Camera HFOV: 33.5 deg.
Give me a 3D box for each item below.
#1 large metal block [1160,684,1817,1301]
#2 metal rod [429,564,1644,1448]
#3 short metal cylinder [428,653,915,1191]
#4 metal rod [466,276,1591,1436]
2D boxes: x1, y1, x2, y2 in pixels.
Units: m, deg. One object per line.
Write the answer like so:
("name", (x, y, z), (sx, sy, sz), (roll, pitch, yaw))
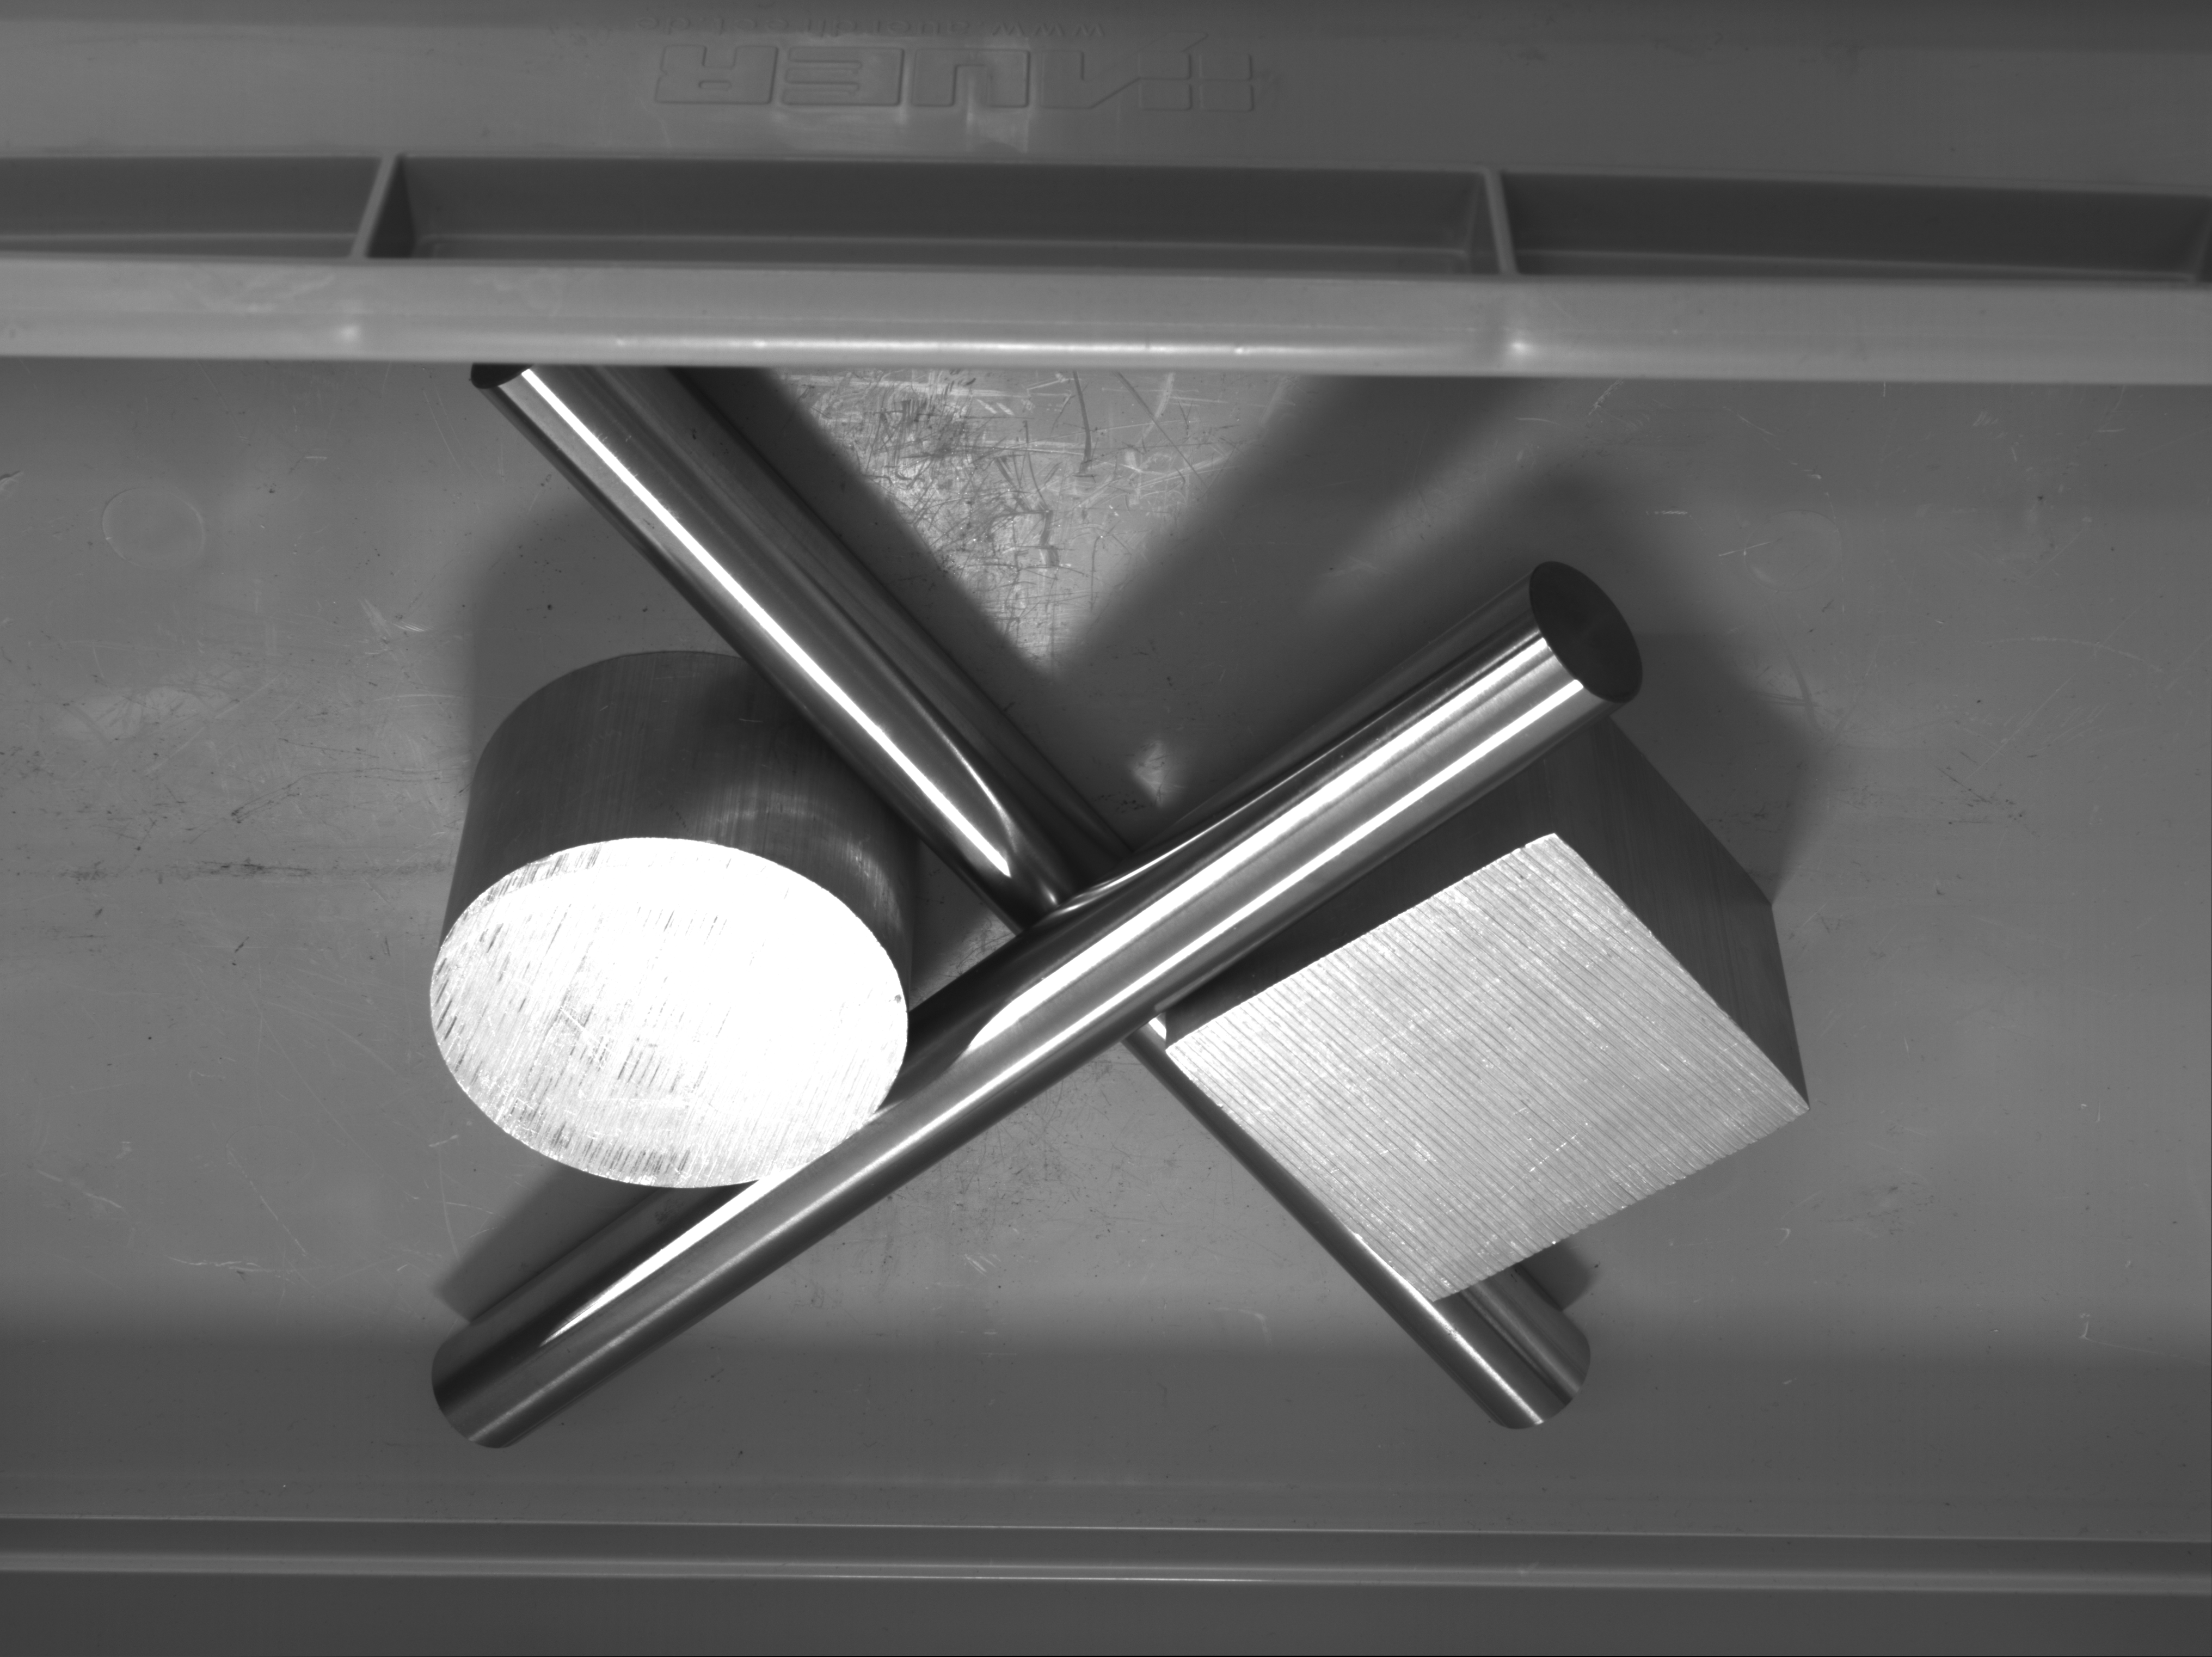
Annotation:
("large metal block", (0.065, 0.026, 0.642), (0.080, 0.050, 0.080), (-31, 123, 24))
("metal rod", (-0.026, 0.041, 0.645), (0.025, 0.025, 0.299), (34, 130, -25))
("short metal cylinder", (-0.073, 0.017, 0.635), (0.080, 0.050, 0.080), (0, 130, 0))
("metal rod", (-0.002, 0.016, 0.651), (0.025, 0.025, 0.301), (-29, 124, 22))
